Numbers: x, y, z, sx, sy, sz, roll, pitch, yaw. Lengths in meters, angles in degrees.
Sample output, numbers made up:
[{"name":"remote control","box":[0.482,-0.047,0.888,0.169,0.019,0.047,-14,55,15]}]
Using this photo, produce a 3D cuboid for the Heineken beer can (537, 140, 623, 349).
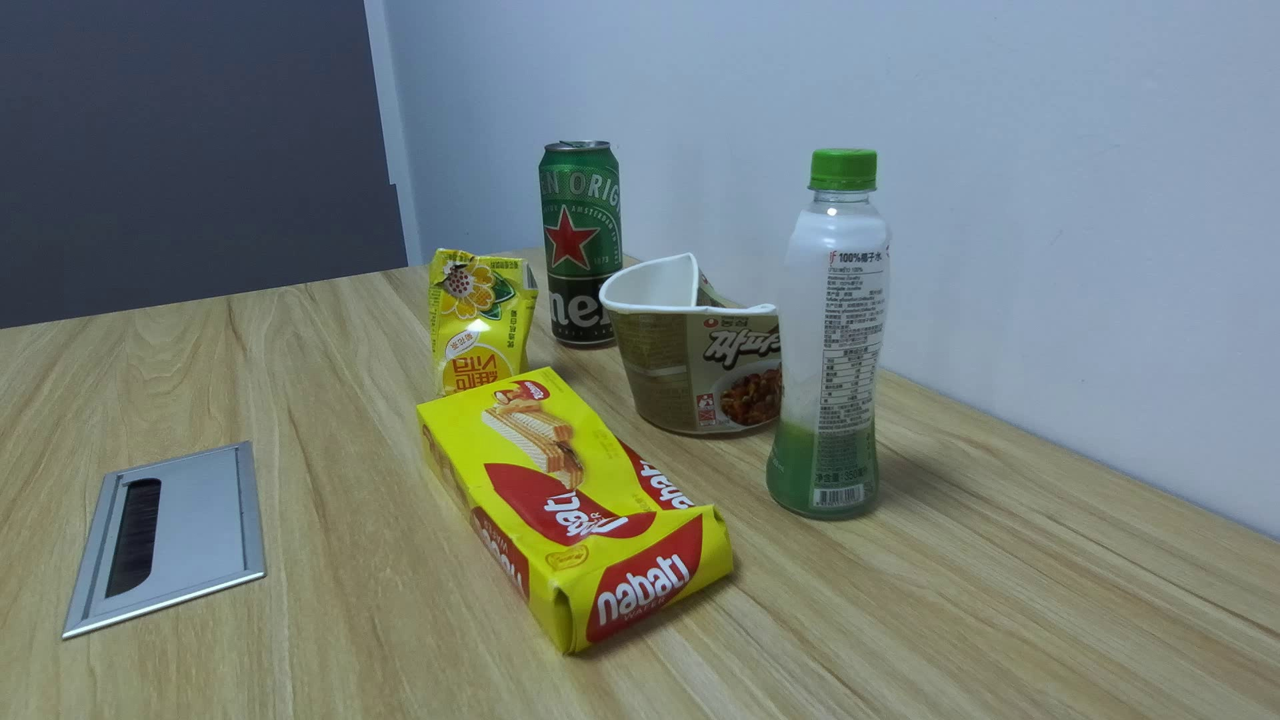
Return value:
[{"name":"Heineken beer can","box":[-0.046,-0.097,0.609,0.067,0.169,0.067,-3,19,1]}]

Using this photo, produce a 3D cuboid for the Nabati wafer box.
[{"name":"Nabati wafer box","box":[-0.041,0.067,0.389,0.107,0.042,0.203,-17,29,-27]}]

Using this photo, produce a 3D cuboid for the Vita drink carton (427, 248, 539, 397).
[{"name":"Vita drink carton","box":[-0.118,-0.027,0.534,0.087,0.108,0.042,3,7,8]}]

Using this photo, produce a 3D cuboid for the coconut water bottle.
[{"name":"coconut water bottle","box":[0.102,-0.012,0.370,0.069,0.186,0.069,-1,20,1]}]

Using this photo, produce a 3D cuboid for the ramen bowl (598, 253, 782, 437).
[{"name":"ramen bowl","box":[0.041,-0.012,0.493,0.137,0.098,0.137,-2,21,1]}]
